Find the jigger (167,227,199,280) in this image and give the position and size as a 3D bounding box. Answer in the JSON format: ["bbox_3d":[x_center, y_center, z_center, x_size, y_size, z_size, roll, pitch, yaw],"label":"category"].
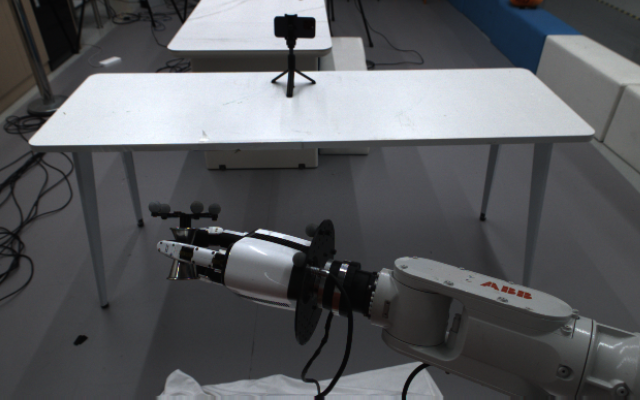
[{"bbox_3d":[-0.183,0.072,0.649,0.043,0.071,0.043,0,-5,0],"label":"jigger"}]
